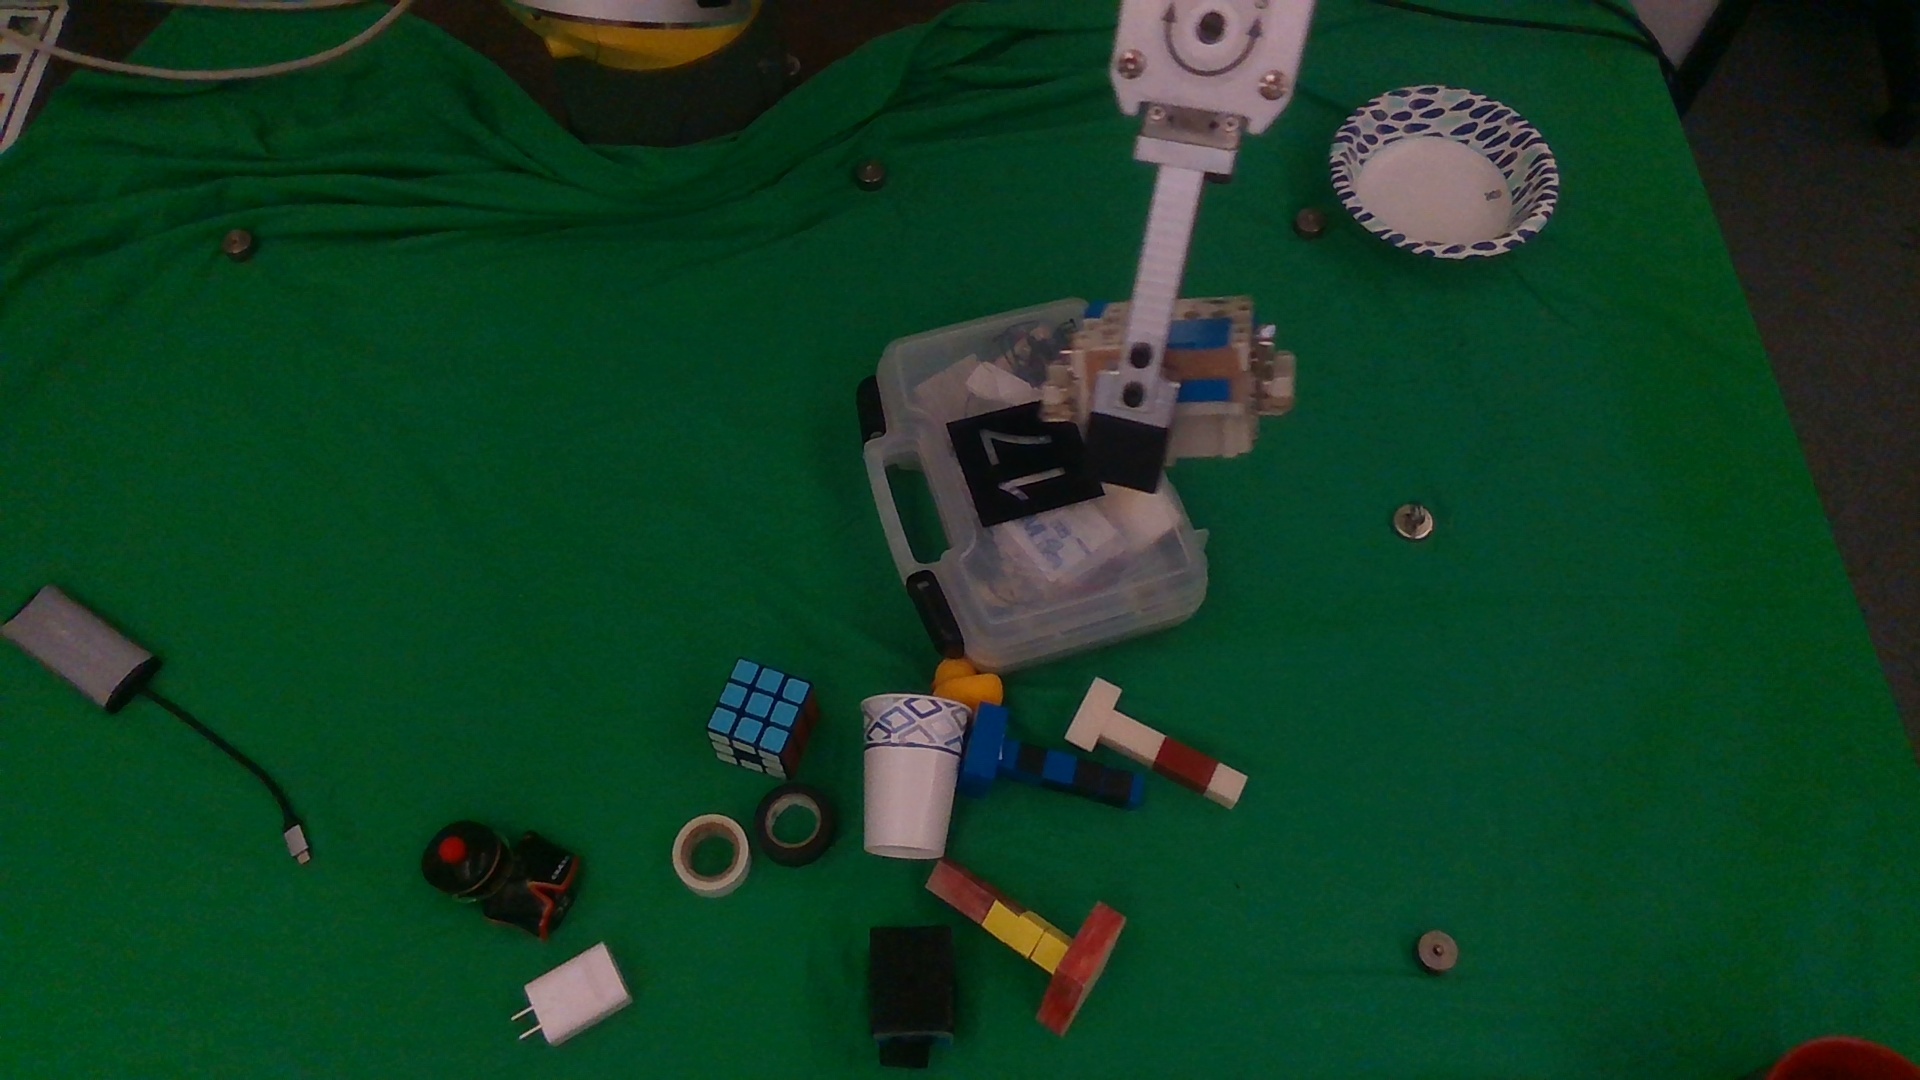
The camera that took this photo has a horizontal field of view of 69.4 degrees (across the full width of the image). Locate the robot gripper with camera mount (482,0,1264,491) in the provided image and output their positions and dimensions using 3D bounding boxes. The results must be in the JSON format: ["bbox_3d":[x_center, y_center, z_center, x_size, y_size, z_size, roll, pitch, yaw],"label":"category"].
[{"bbox_3d":[-0.027,-0.101,0.346,0.193,0.158,0.119,8,27,9],"label":"robot gripper with camera mount"}]

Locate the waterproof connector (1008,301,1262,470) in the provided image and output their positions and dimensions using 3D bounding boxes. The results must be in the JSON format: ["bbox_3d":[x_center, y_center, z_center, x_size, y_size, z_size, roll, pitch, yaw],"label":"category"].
[{"bbox_3d":[0.046,-0.040,0.365,0.065,0.037,0.035,-1,30,13],"label":"waterproof connector"}]
